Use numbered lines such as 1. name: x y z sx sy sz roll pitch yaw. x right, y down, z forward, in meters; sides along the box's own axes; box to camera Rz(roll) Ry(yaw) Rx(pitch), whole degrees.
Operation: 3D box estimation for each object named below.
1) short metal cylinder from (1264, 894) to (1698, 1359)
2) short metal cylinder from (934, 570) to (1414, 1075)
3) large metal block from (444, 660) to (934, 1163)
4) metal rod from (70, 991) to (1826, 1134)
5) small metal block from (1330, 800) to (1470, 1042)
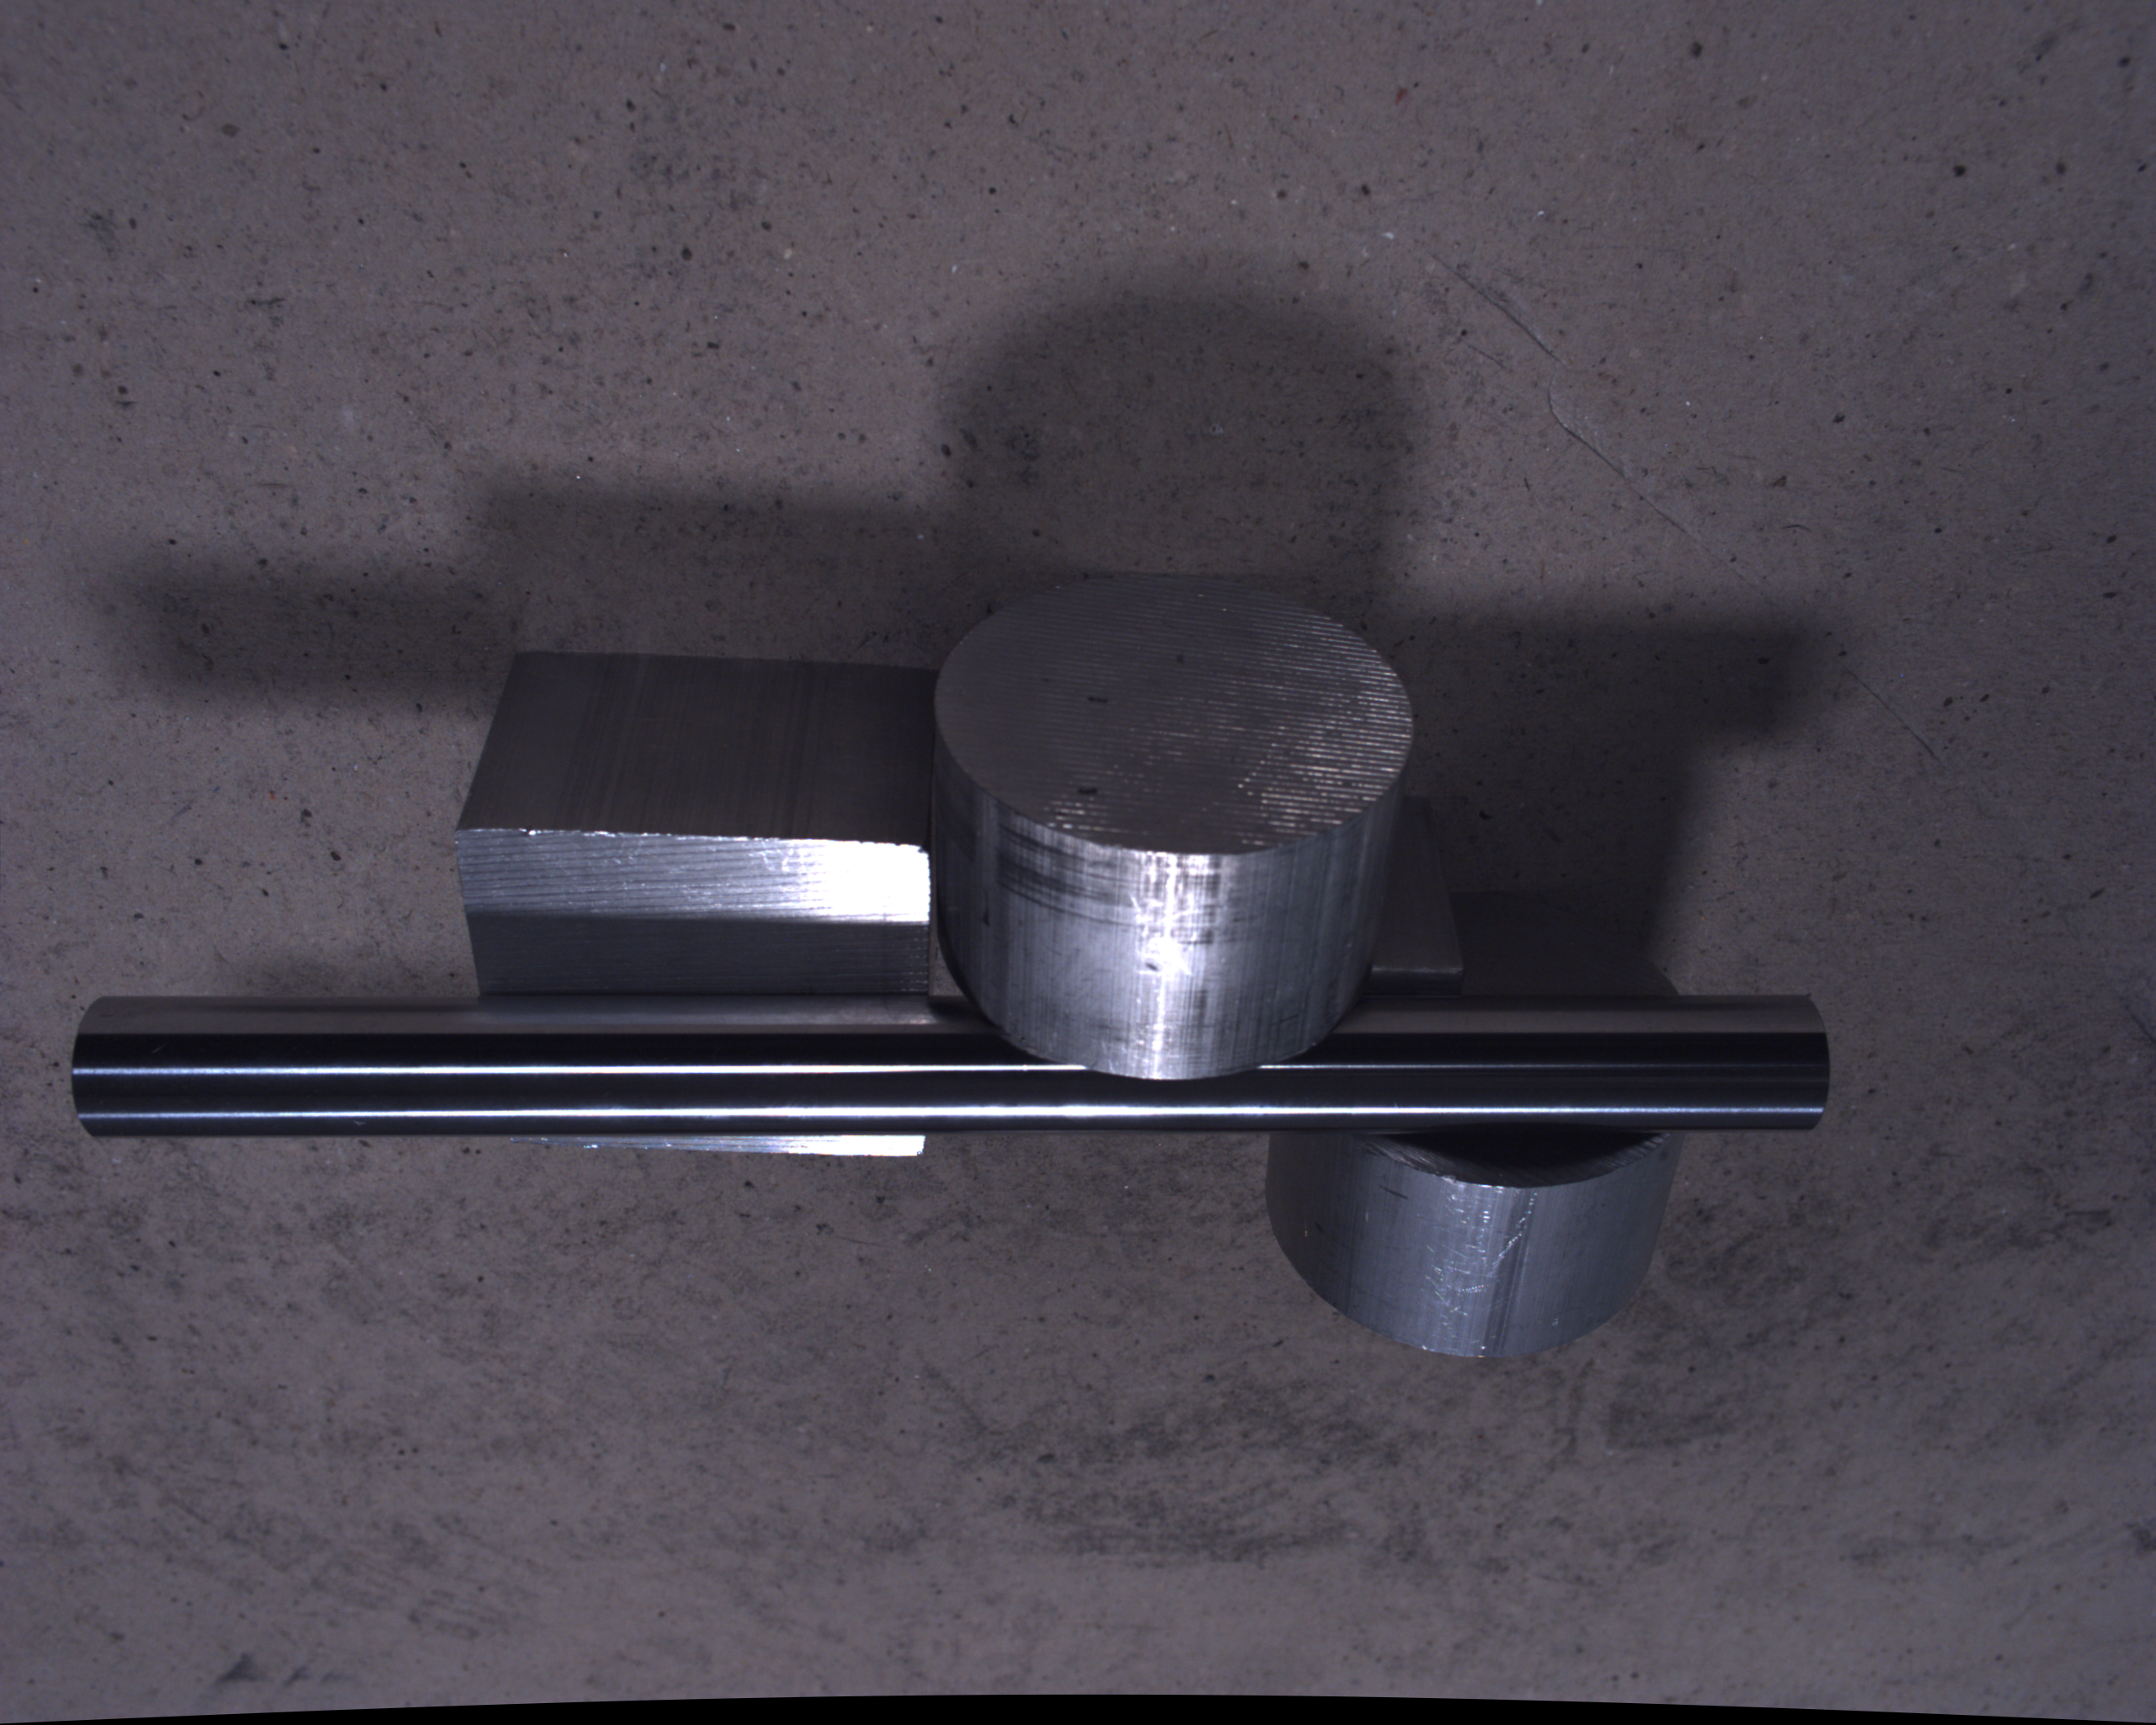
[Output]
1. short metal cylinder: 0.079 0.051 0.417 0.081 0.080 0.050 0 130 -1
2. short metal cylinder: 0.015 -0.009 0.366 0.081 0.080 0.050 2 130 -2
3. large metal block: -0.068 0.010 0.396 0.081 0.050 0.079 2 130 -3
4. metal rod: -0.020 0.036 0.372 0.302 0.025 0.025 0 130 -2
5. small metal block: 0.045 0.013 0.402 0.050 0.050 0.025 1 130 -1
